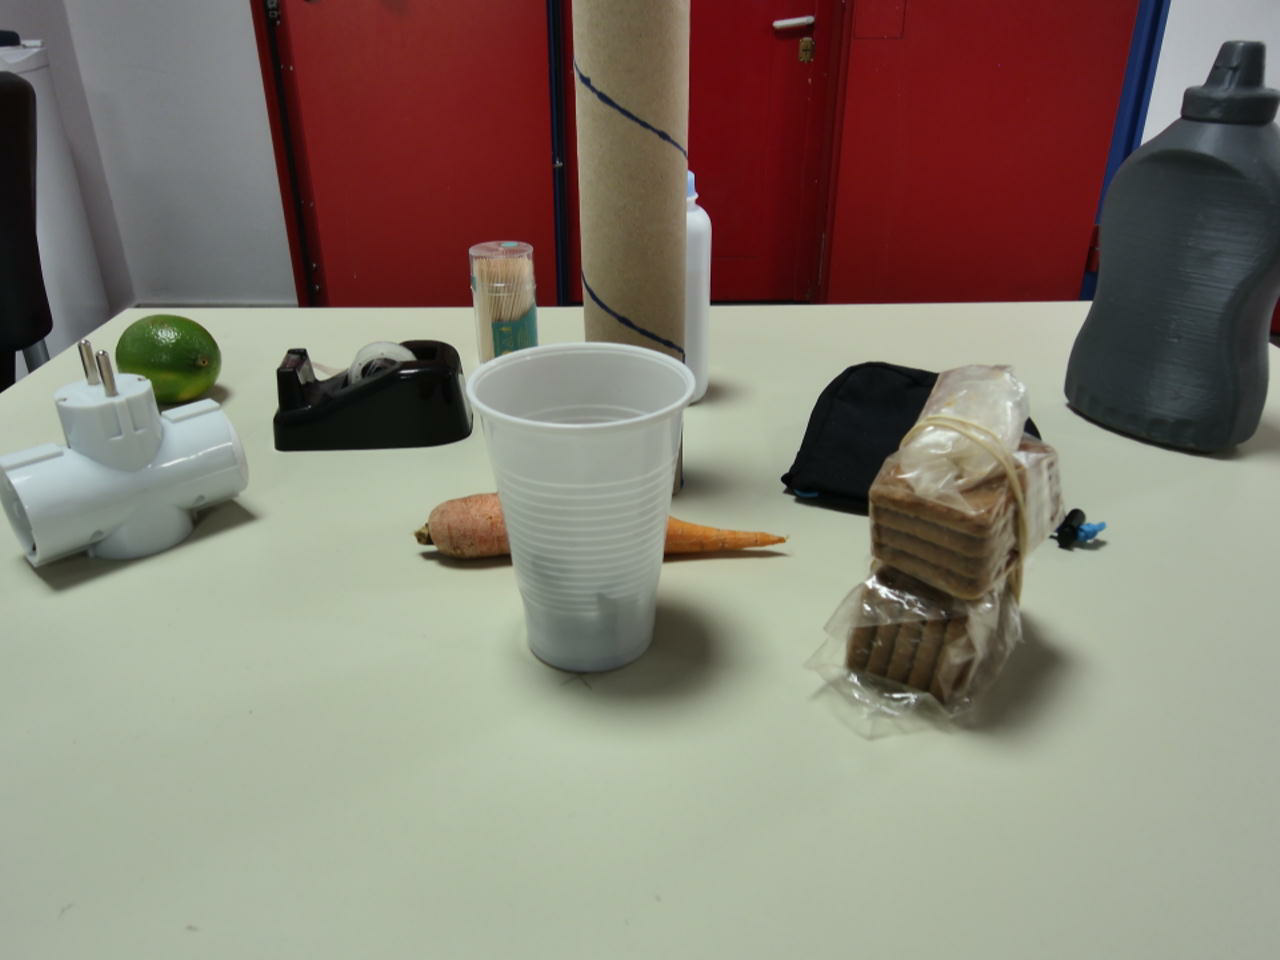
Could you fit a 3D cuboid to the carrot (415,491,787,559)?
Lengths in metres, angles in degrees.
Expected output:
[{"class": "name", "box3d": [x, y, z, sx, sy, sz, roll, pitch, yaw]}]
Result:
[{"class": "carrot", "box3d": [-0.017, 0.020, 0.440, 0.163, 0.029, 0.031, 0, 25, 0]}]
